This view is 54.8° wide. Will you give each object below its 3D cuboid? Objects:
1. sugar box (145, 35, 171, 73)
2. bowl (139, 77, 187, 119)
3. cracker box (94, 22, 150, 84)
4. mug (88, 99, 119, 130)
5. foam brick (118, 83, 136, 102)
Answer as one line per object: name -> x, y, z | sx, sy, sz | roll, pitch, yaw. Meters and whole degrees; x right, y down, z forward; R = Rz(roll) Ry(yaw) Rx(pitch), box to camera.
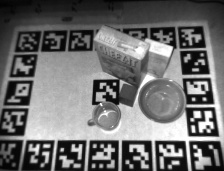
sugar box -> 0.145, -0.108, 0.743 | 0.092, 0.177, 0.045 | 20, 73, 13
bowl -> 0.173, 0.046, 0.739 | 0.161, 0.055, 0.161 | -1, 71, 4
cracker box -> 0.033, -0.101, 0.731 | 0.163, 0.215, 0.072 | 28, 73, 14
mug -> -0.033, 0.103, 0.729 | 0.117, 0.082, 0.093 | -9, 61, 4
foam brick -> 0.053, 0.019, 0.763 | 0.052, 0.078, 0.051 | 14, 71, 12
